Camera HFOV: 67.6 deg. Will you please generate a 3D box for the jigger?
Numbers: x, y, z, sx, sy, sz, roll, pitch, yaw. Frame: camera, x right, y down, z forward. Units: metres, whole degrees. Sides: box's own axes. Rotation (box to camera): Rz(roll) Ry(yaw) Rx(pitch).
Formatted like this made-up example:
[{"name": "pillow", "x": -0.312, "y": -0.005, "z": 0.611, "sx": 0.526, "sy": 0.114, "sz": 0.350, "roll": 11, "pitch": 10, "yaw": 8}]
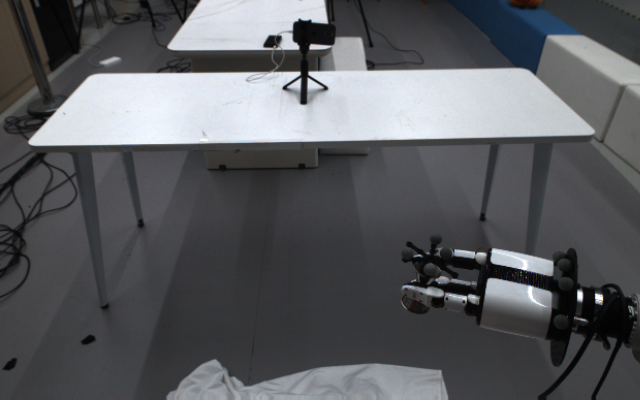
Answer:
[{"name": "jigger", "x": 0.148, "y": 0.126, "z": 0.710, "sx": 0.043, "sy": 0.071, "sz": 0.043, "roll": 9, "pitch": 30, "yaw": -5}]
